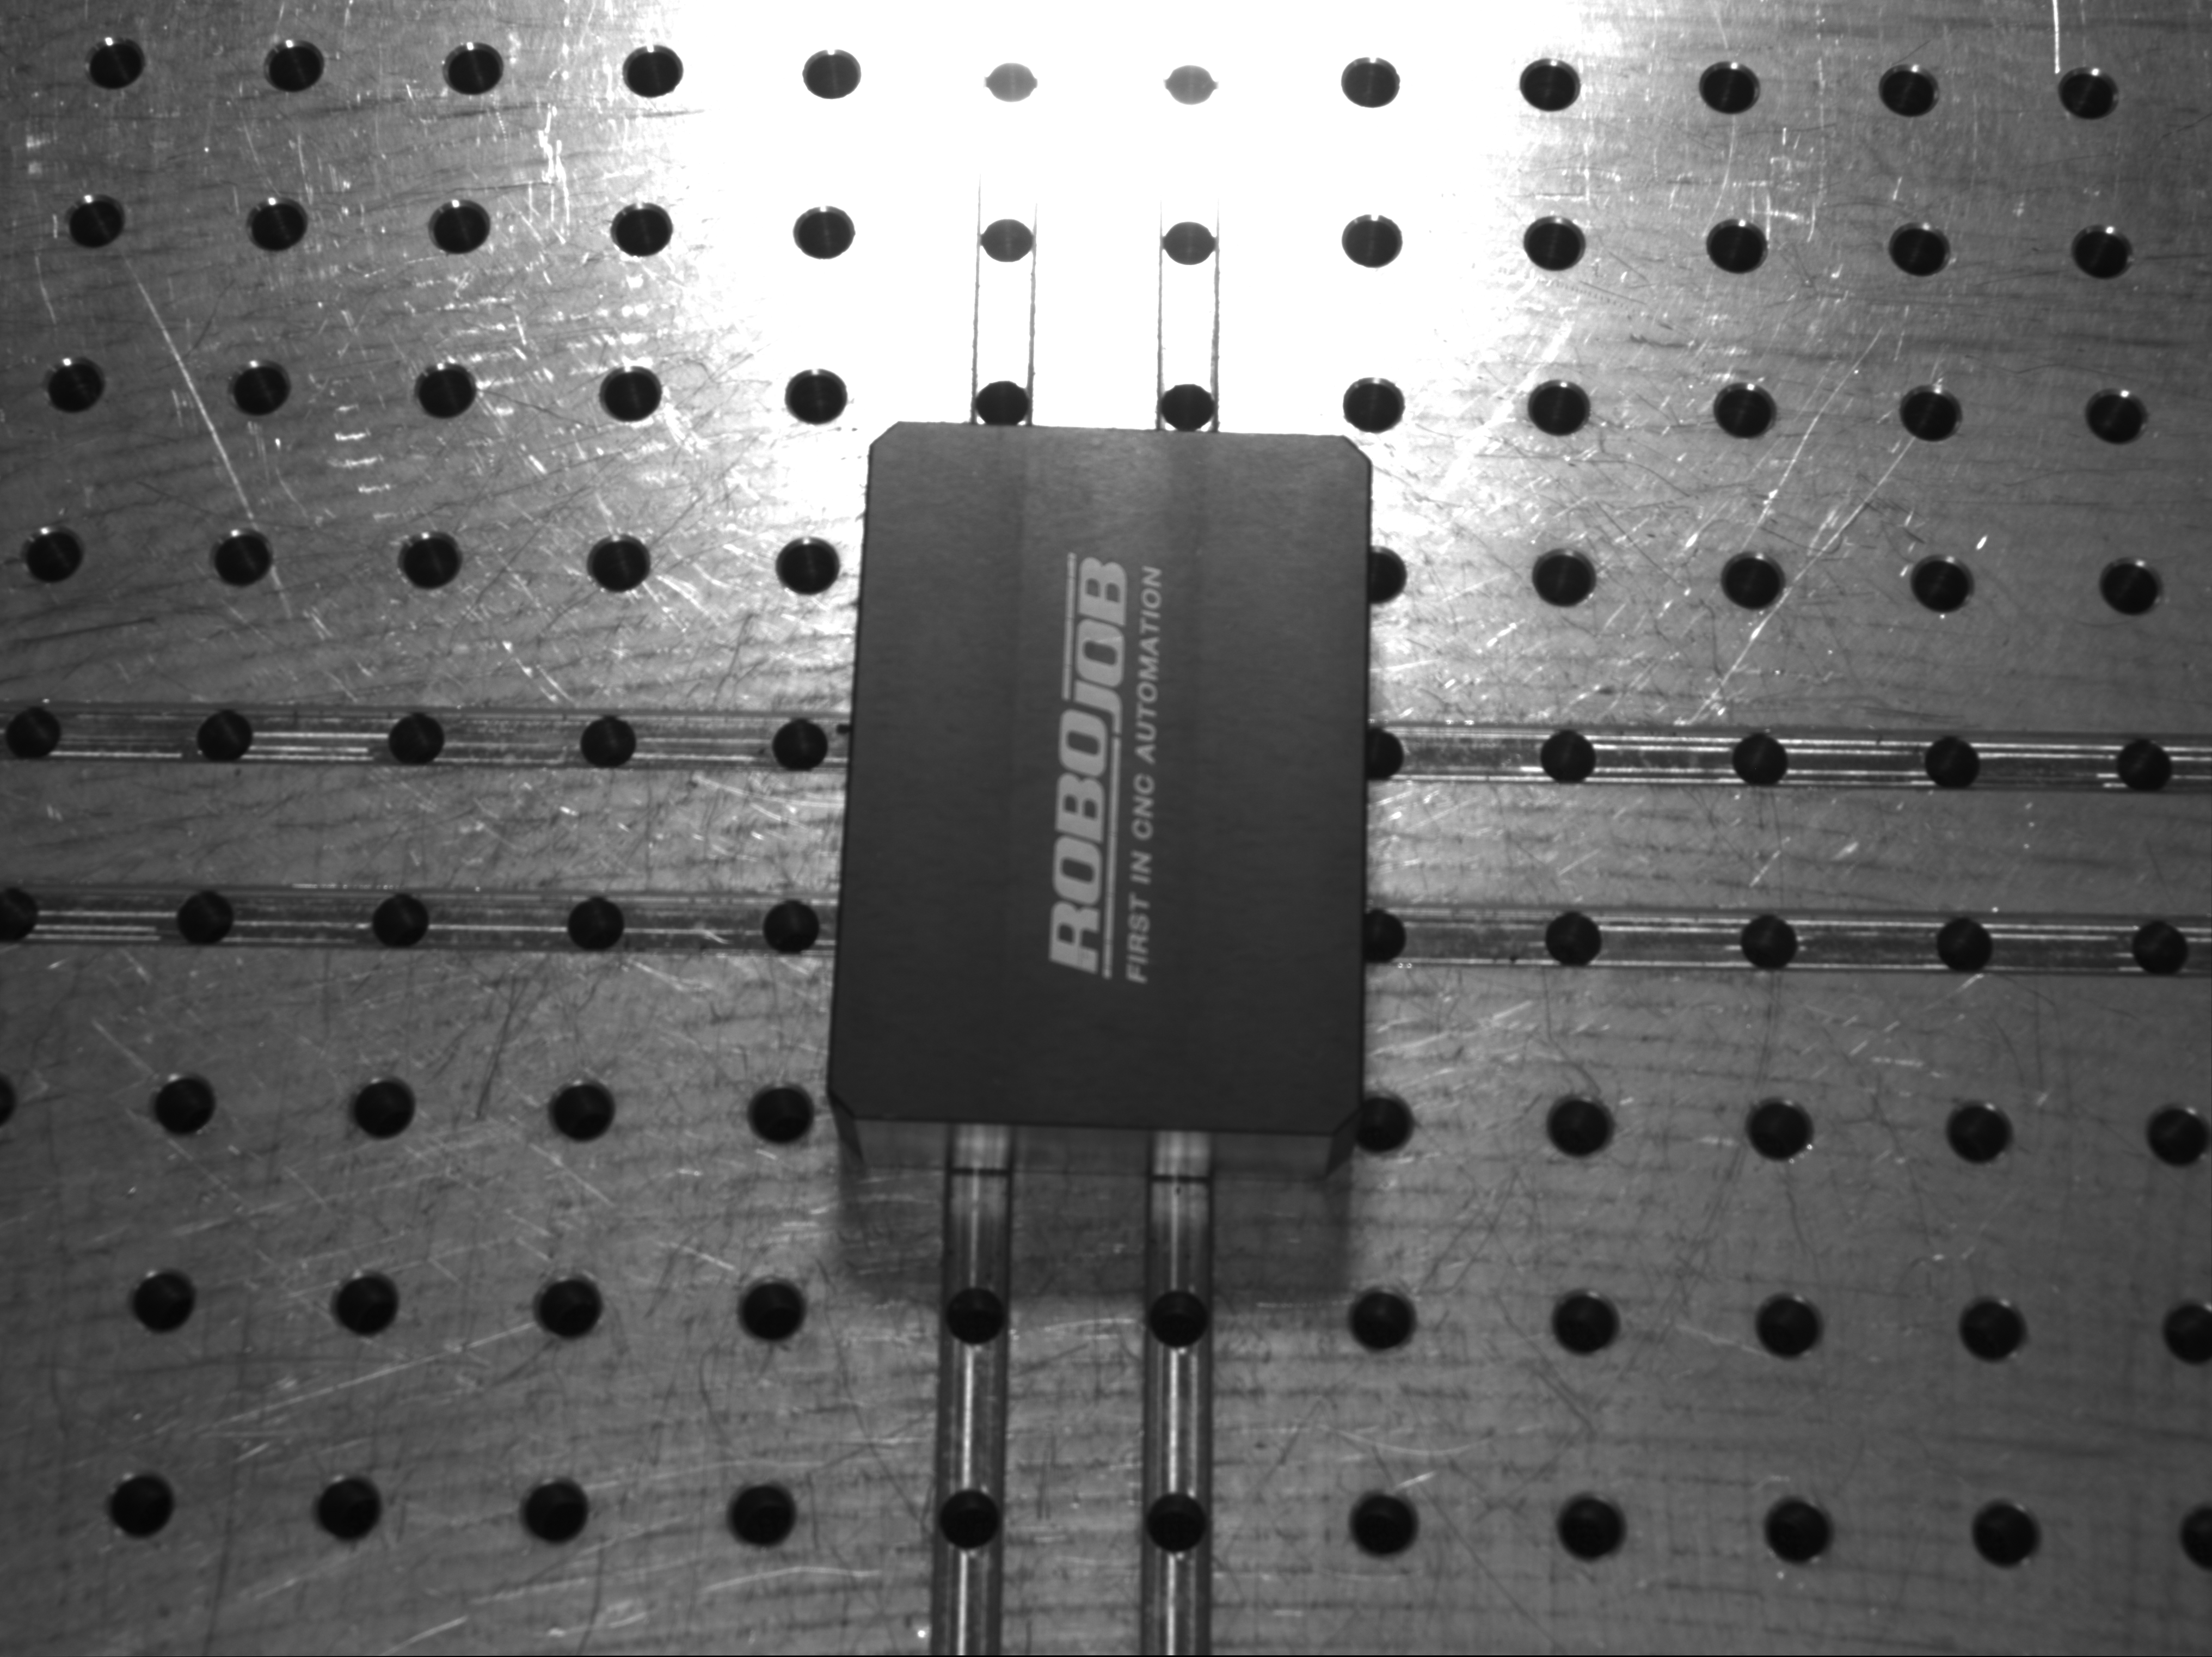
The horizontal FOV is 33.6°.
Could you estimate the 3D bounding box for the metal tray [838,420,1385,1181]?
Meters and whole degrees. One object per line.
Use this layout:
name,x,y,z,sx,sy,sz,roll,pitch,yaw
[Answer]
metal tray,0.002,-0.006,0.646,0.090,0.030,0.130,2,70,1
